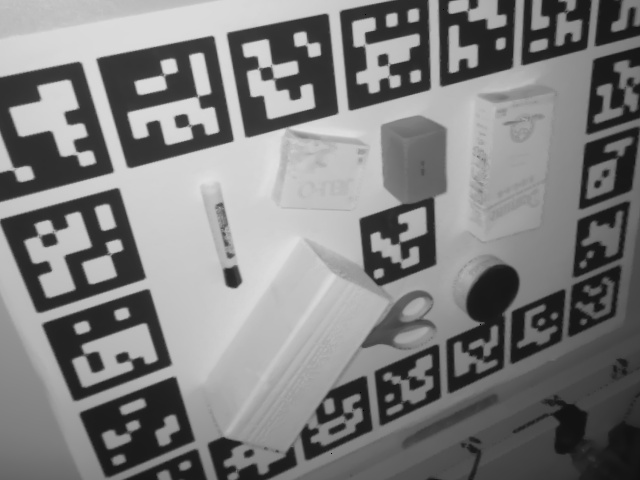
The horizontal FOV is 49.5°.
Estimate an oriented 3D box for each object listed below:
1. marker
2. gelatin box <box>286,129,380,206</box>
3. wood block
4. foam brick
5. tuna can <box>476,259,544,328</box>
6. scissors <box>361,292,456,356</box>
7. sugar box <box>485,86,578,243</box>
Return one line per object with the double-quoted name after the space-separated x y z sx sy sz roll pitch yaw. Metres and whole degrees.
-0.083 -0.009 0.709 0.020 0.019 0.120 -16 116 -18 "marker"
0.013 -0.074 0.722 0.090 0.030 0.073 1 111 -27 "gelatin box"
-0.021 0.110 0.757 0.091 0.090 0.205 29 99 -33 "wood block"
0.115 -0.089 0.747 0.053 0.051 0.077 -16 118 -19 "foam brick"
0.244 0.068 0.893 0.087 0.033 0.085 -11 116 -21 "tuna can"
0.081 0.119 0.851 0.205 0.016 0.087 -11 116 -24 "scissors"
0.248 -0.087 0.823 0.094 0.045 0.175 -13 117 -19 "sugar box"
